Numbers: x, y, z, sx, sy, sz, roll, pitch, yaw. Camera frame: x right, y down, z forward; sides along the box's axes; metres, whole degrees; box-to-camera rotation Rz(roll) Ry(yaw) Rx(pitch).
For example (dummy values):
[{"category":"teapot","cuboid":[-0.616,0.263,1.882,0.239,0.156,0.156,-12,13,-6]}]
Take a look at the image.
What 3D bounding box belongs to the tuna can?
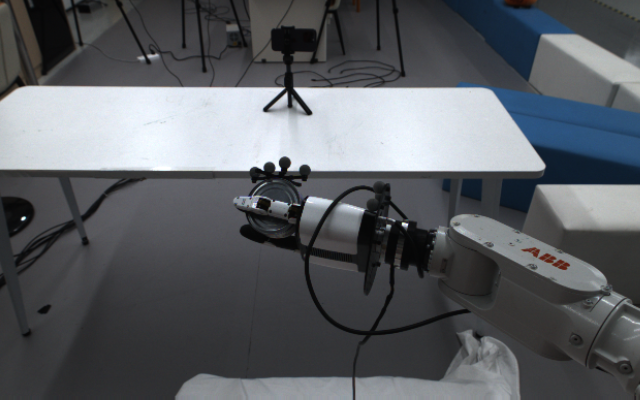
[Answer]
[{"category":"tuna can","cuboid":[-0.064,0.013,0.711,0.085,0.034,0.085,-5,70,14]}]
